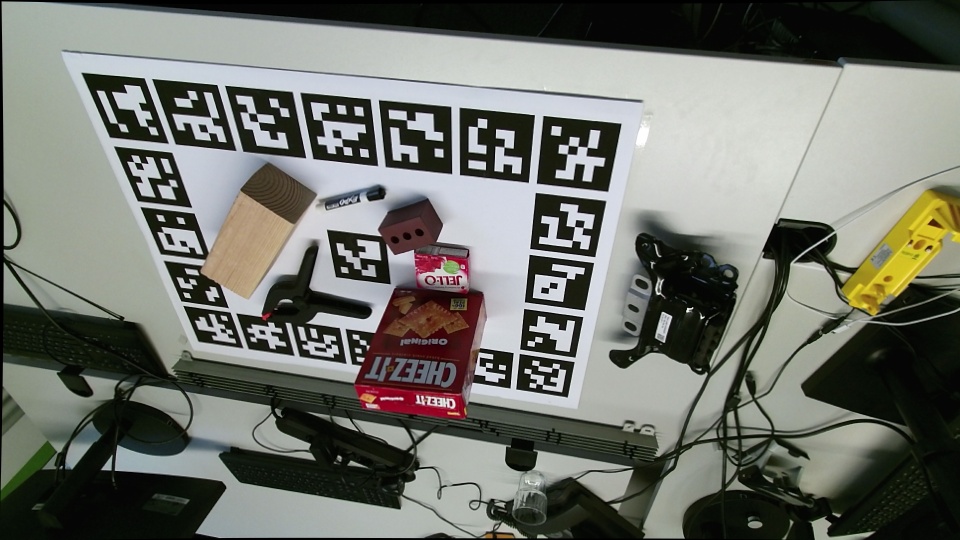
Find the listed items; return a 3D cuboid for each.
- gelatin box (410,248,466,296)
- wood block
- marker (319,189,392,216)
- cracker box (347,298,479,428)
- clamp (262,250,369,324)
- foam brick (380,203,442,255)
[{"bbox_3d":[-0.068,0.003,0.880,0.090,0.030,0.073,6,124,7],"label":"gelatin box"},{"bbox_3d":[-0.361,-0.053,0.862,0.090,0.090,0.206,34,127,-16],"label":"wood block"},{"bbox_3d":[-0.193,-0.105,0.830,0.121,0.019,0.019,-10,120,18],"label":"marker"},{"bbox_3d":[-0.101,0.138,0.860,0.165,0.213,0.072,4,126,10],"label":"cracker box"},{"bbox_3d":[-0.324,0.061,0.963,0.203,0.036,0.165,-21,118,23],"label":"clamp"},{"bbox_3d":[-0.108,-0.061,0.826,0.078,0.051,0.053,-15,119,20],"label":"foam brick"}]
